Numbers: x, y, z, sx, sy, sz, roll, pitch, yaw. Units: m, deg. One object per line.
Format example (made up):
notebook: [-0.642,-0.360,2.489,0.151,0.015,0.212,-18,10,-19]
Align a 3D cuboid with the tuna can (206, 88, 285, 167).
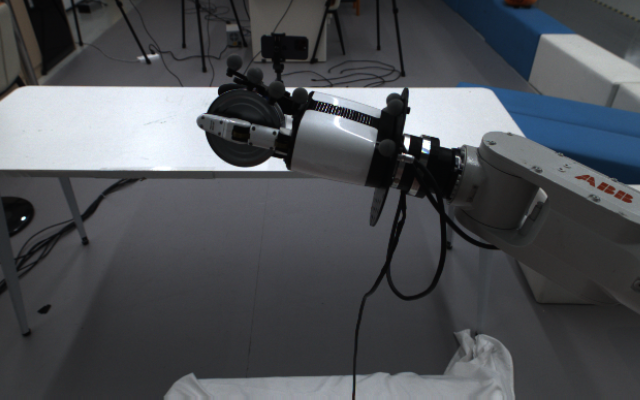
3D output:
tuna can: [-0.081,-0.082,0.544,0.085,0.085,0.034,7,17,6]
